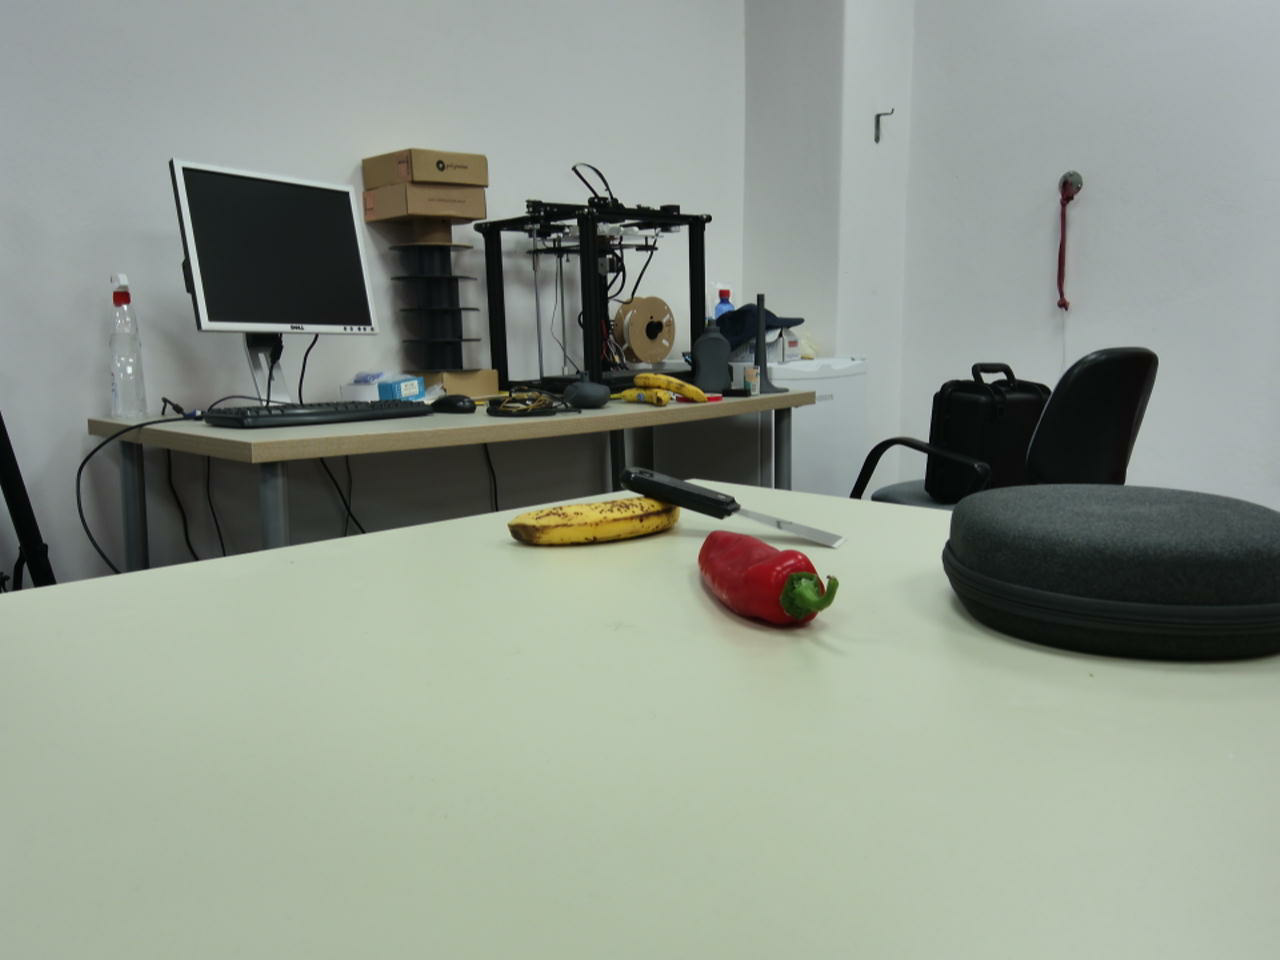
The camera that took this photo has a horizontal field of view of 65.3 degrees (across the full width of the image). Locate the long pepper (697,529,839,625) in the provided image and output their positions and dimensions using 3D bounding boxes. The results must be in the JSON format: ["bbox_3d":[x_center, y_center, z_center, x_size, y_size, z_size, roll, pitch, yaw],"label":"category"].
[{"bbox_3d":[0.070,0.055,0.620,0.050,0.043,0.211,-1,7,-11],"label":"long pepper"}]
